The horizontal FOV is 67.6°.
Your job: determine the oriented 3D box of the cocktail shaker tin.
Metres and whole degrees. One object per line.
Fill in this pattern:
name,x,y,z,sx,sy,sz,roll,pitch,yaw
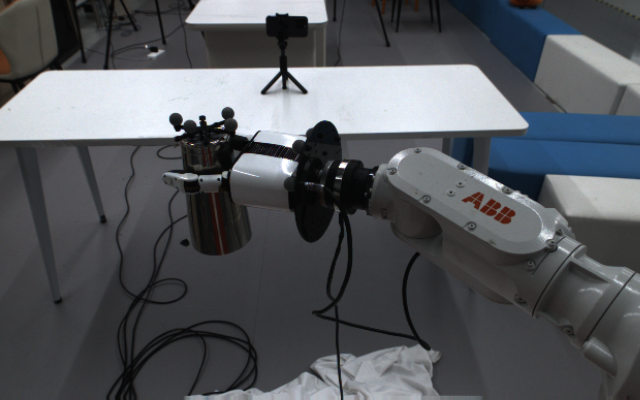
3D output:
cocktail shaker tin,-0.149,-0.019,0.696,0.093,0.170,0.093,-1,33,1
